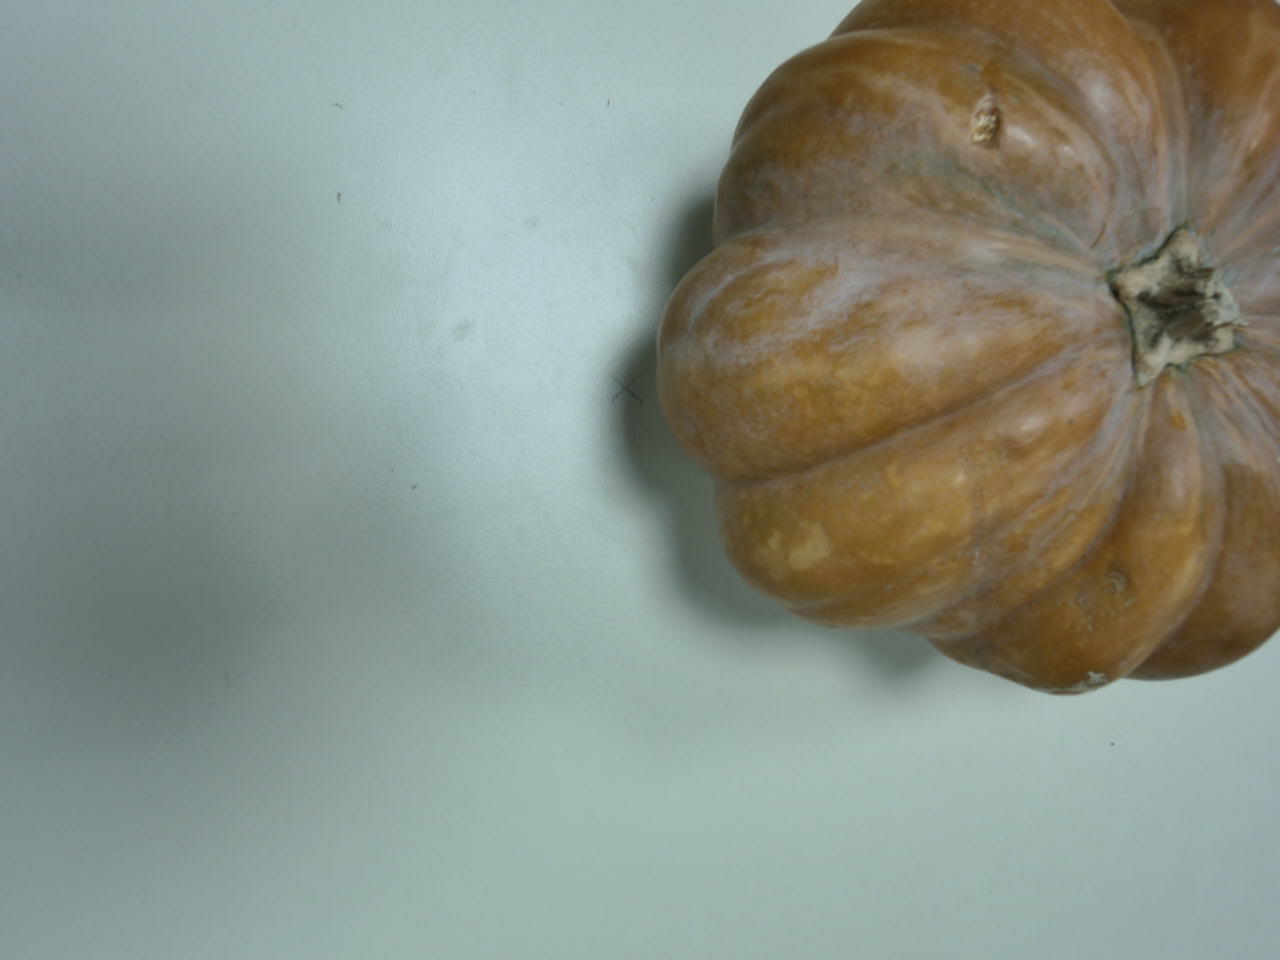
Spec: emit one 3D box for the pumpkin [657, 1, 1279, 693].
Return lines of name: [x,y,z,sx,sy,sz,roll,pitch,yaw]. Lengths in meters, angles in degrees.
pumpkin: [0.142,-0.054,0.371,0.277,0.181,0.277,0,91,-12]
